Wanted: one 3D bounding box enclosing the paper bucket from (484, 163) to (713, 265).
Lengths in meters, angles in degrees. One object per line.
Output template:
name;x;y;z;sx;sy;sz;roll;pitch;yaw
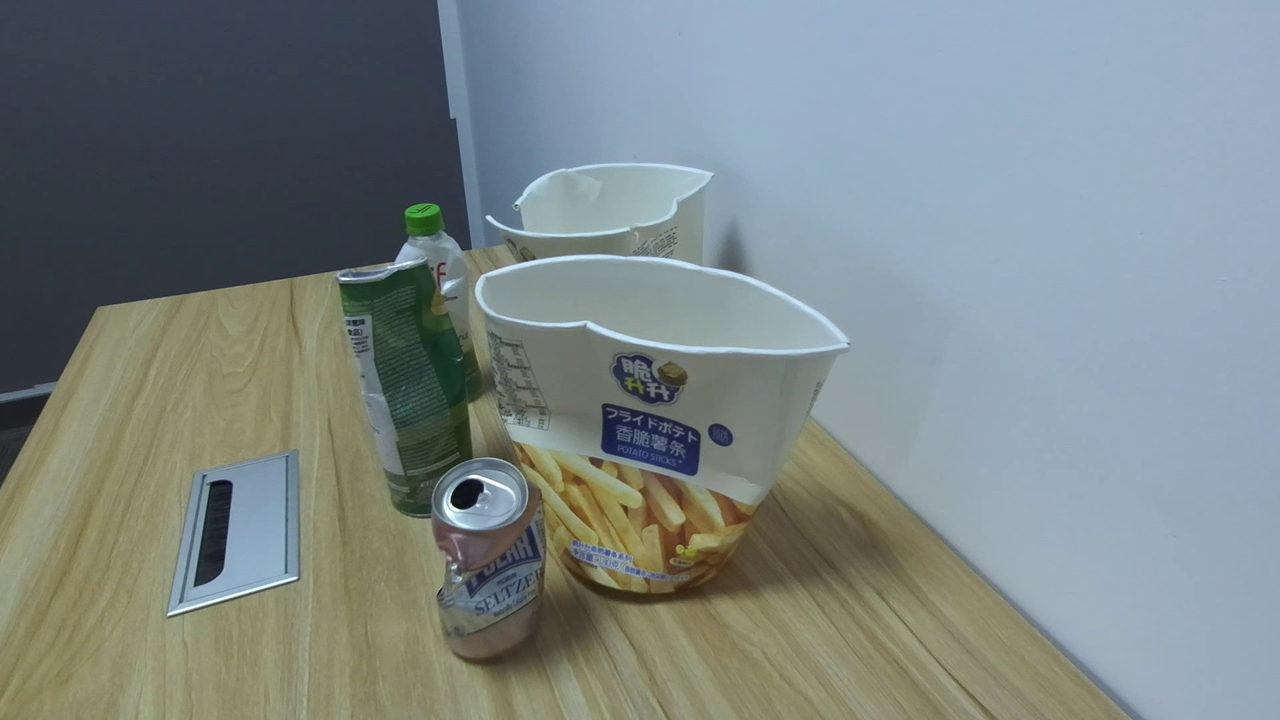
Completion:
paper bucket;-0.023;-0.067;0.666;0.145;0.197;0.203;9;32;20

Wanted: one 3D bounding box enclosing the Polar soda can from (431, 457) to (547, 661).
Polar soda can;-0.094;0.126;0.439;0.066;0.122;0.071;8;34;3

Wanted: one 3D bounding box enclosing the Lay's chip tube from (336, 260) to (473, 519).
Lay's chip tube;-0.175;0.019;0.541;0.079;0.199;0.070;-17;28;-29

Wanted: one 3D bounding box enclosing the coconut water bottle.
coconut water bottle;-0.183;-0.049;0.655;0.067;0.187;0.067;-4;25;2

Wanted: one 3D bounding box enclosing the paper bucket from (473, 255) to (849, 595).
paper bucket;0.007;0.043;0.491;0.218;0.199;0.147;-5;32;-7
